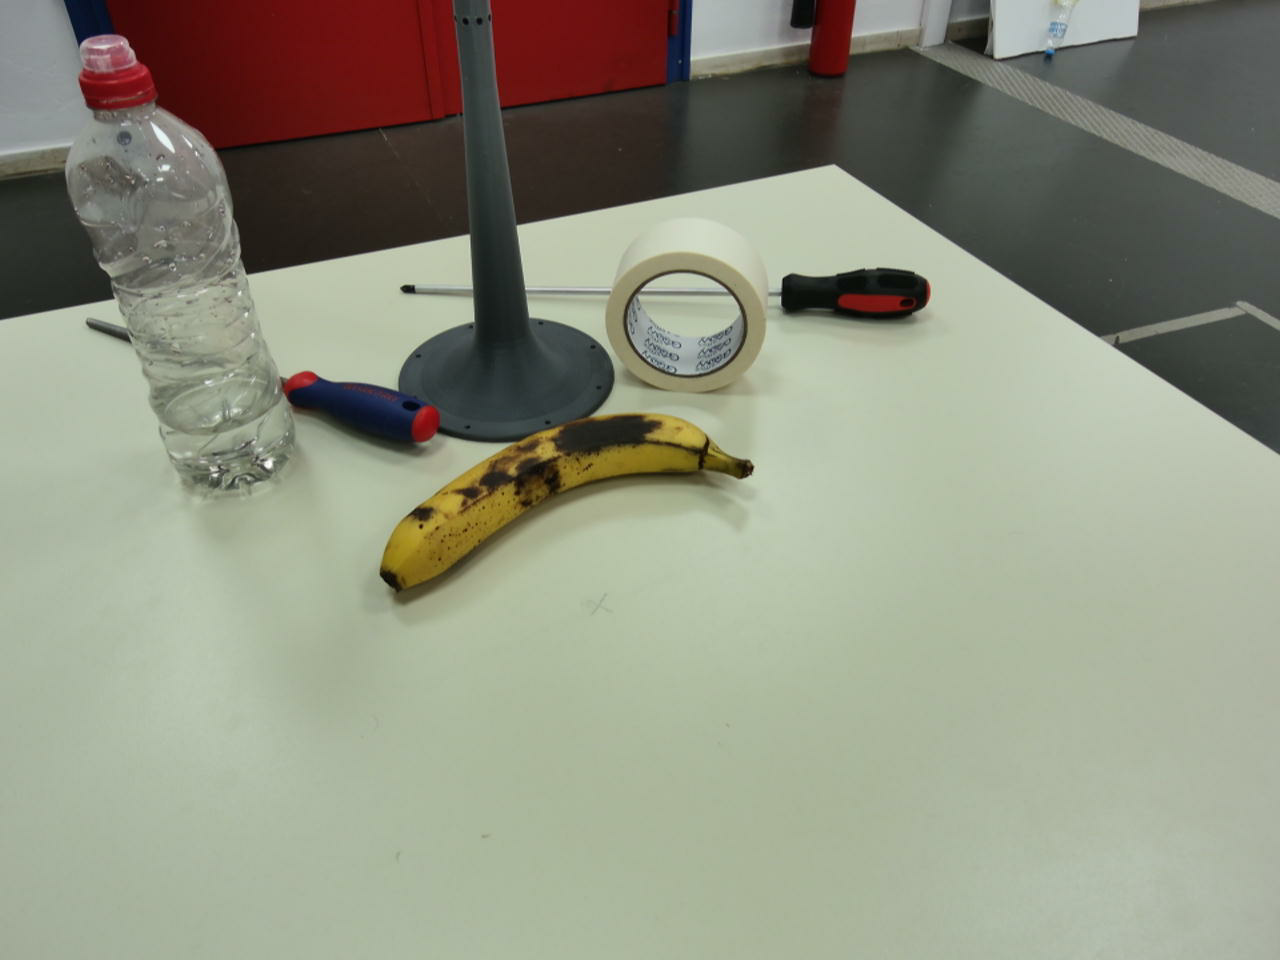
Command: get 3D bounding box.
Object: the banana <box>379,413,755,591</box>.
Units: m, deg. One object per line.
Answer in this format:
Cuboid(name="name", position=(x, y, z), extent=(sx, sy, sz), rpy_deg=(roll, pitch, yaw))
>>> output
Cuboid(name="banana", position=(-0.049, 0.001, 0.581), extent=(0.222, 0.037, 0.084), rpy_deg=(-16, 42, -20))
